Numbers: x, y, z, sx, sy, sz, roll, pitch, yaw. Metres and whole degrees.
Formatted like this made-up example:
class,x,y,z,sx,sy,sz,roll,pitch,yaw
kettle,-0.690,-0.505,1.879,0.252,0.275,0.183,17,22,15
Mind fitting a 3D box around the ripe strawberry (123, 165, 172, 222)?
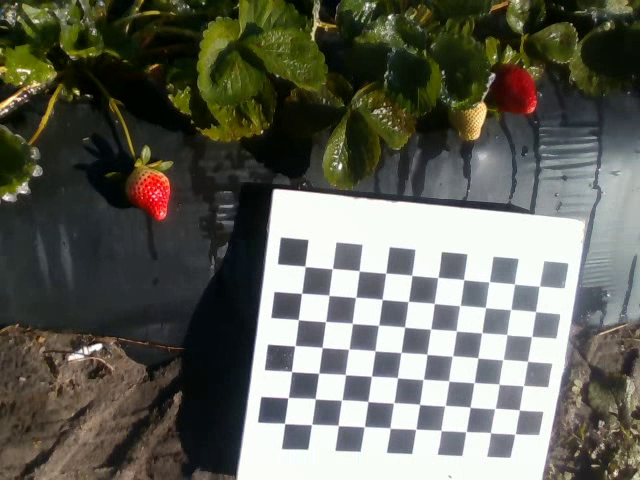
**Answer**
class,x,y,z,sx,sy,sz,roll,pitch,yaw
ripe strawberry,-0.135,-0.036,0.533,0.039,0.053,0.040,-16,-7,-7
